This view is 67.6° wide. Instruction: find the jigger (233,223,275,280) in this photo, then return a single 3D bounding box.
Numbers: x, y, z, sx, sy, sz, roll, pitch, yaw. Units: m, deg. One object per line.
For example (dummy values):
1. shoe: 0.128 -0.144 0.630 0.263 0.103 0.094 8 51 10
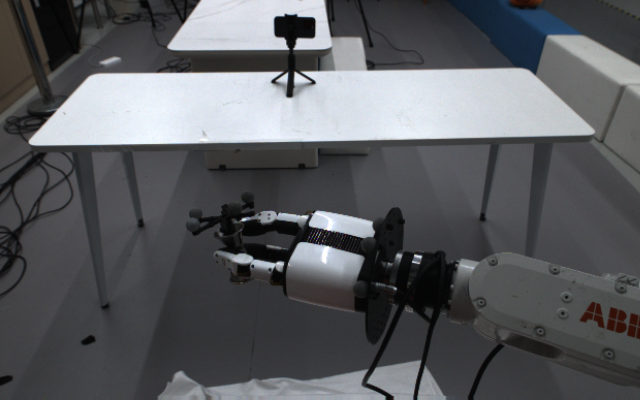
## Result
1. jigger: -0.105 0.067 0.623 0.043 0.071 0.043 -14 22 6
